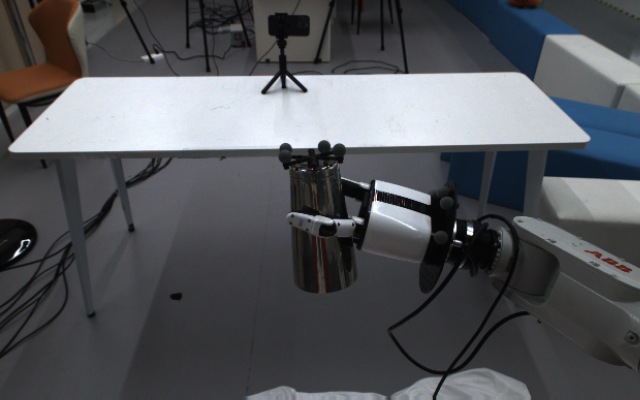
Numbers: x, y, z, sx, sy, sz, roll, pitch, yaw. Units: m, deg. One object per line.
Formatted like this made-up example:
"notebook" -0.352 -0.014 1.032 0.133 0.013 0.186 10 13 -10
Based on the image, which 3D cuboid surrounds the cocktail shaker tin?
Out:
"cocktail shaker tin" 0.000 0.031 0.668 0.093 0.170 0.093 -6 19 2
